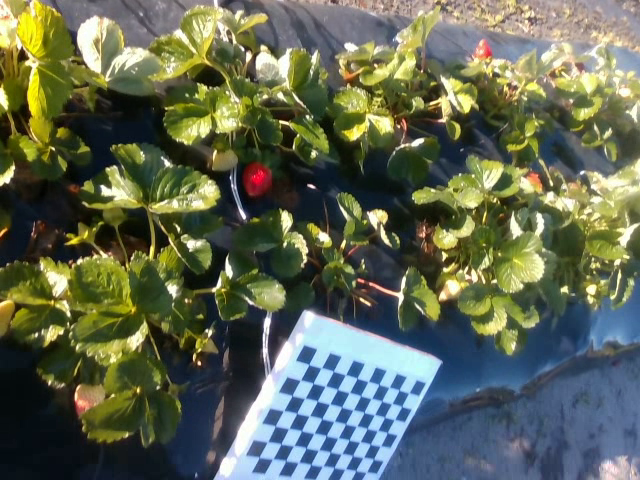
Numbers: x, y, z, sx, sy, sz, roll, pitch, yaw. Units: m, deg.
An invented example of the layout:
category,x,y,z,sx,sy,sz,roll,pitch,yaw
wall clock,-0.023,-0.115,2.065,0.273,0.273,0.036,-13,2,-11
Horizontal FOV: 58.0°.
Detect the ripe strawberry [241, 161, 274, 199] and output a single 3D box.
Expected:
category,x,y,z,sx,sy,sz,roll,pitch,yaw
ripe strawberry,-0.092,-0.095,0.901,0.040,0.063,0.080,-12,37,24
